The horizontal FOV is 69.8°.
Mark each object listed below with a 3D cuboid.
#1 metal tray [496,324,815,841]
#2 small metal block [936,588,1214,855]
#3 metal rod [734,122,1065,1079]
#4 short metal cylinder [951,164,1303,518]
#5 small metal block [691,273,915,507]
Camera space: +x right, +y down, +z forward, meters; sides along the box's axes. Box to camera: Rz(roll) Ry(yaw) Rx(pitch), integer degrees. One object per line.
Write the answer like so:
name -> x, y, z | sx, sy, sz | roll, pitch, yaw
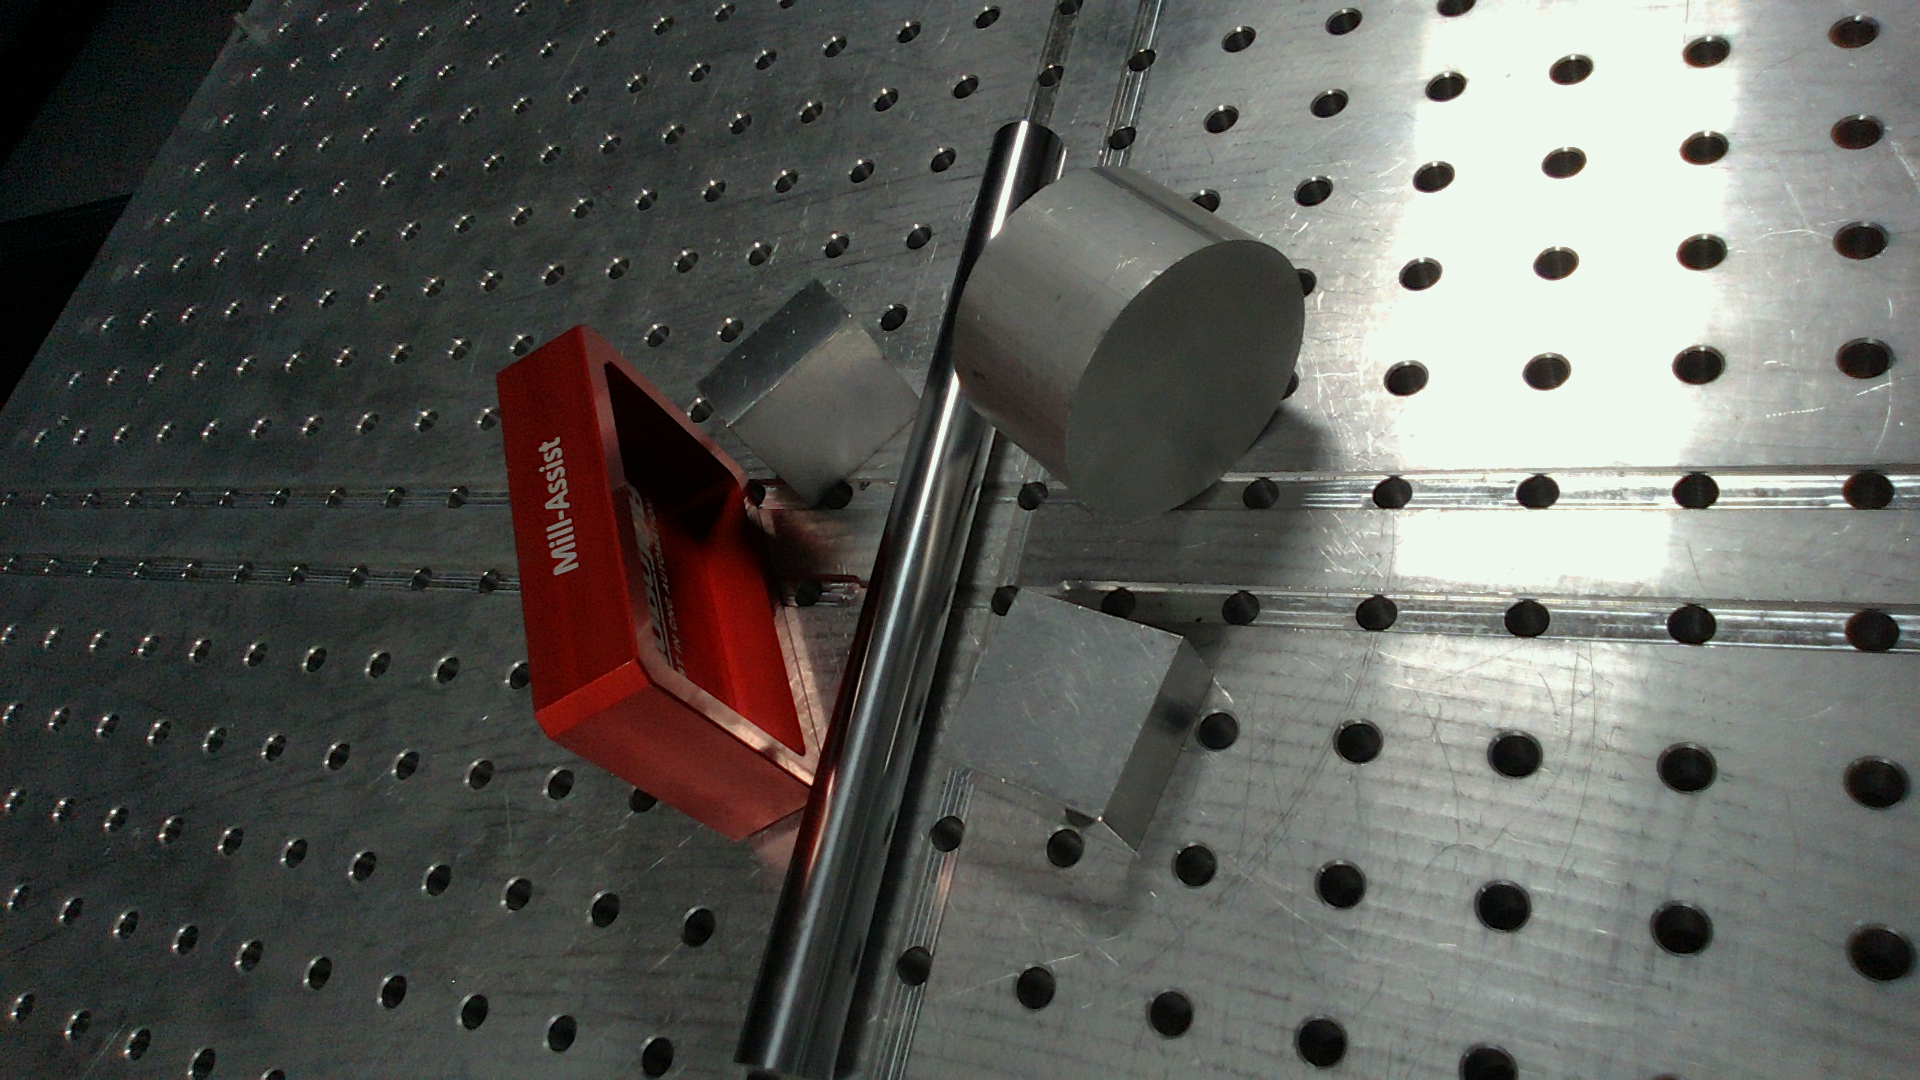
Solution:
metal tray -> -0.086, 0.011, 0.394 | 0.030, 0.090, 0.130 | -29, 52, 10
small metal block -> 0.030, 0.046, 0.353 | 0.050, 0.025, 0.050 | 16, 70, 35
metal rod -> -0.010, 0.000, 0.402 | 0.025, 0.025, 0.300 | 0, 61, 28
short metal cylinder -> 0.045, -0.053, 0.369 | 0.080, 0.080, 0.050 | -44, 51, -2
small metal block -> -0.047, -0.046, 0.434 | 0.050, 0.050, 0.025 | -42, 51, 0
